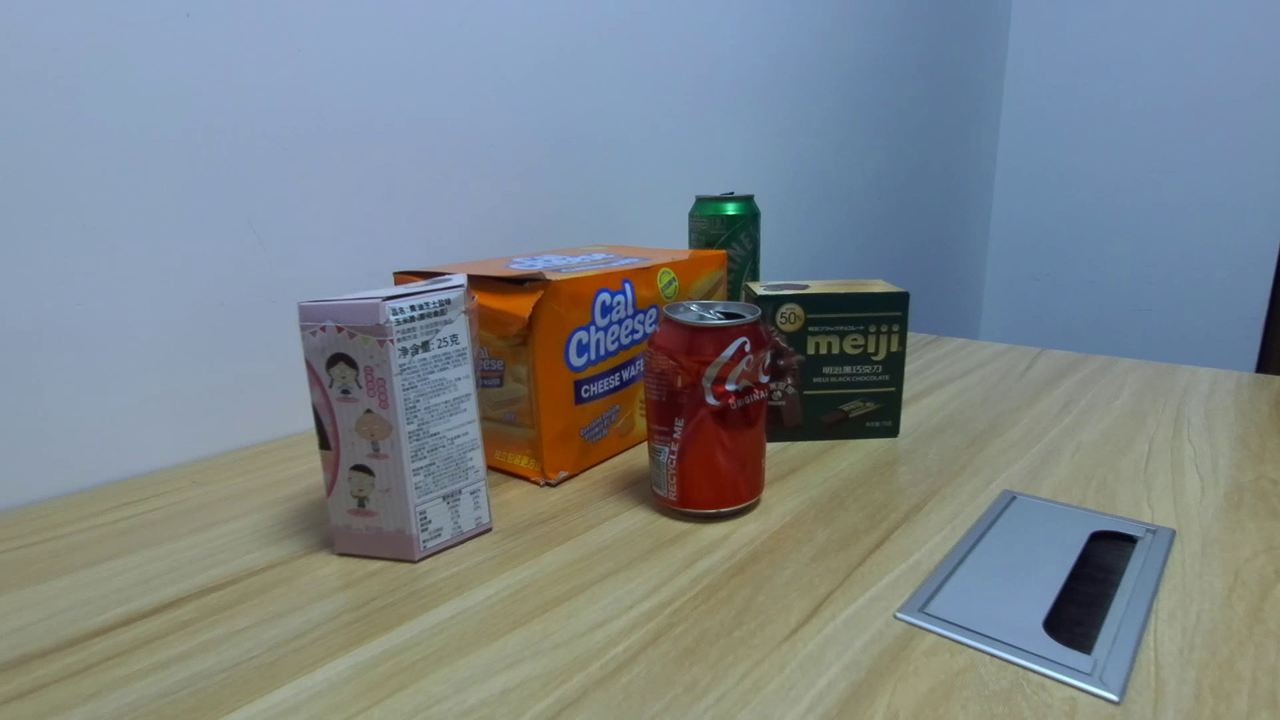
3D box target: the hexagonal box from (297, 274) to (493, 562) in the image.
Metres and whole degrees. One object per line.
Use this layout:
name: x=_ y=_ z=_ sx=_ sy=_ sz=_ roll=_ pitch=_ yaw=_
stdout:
hexagonal box: x=-0.125 y=0.027 z=0.377 sx=0.085 sy=0.135 sz=0.092 roll=-5 pitch=15 yaw=-15

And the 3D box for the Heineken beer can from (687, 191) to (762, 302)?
Heineken beer can: x=0.076 y=-0.064 z=0.657 sx=0.067 sy=0.169 sz=0.067 roll=1 pitch=6 yaw=0

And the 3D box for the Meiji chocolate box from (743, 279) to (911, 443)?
Meiji chocolate box: x=0.131 y=0.000 z=0.514 sx=0.110 sy=0.109 sz=0.056 roll=-2 pitch=15 yaw=-2

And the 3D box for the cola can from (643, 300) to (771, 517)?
cola can: x=0.039 y=0.026 z=0.402 sx=0.065 sy=0.117 sz=0.066 roll=6 pitch=16 yaw=26

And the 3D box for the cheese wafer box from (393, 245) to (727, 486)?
cheese wafer box: x=-0.048 y=-0.016 z=0.540 sx=0.149 sy=0.137 sz=0.228 roll=9 pitch=17 yaw=36
